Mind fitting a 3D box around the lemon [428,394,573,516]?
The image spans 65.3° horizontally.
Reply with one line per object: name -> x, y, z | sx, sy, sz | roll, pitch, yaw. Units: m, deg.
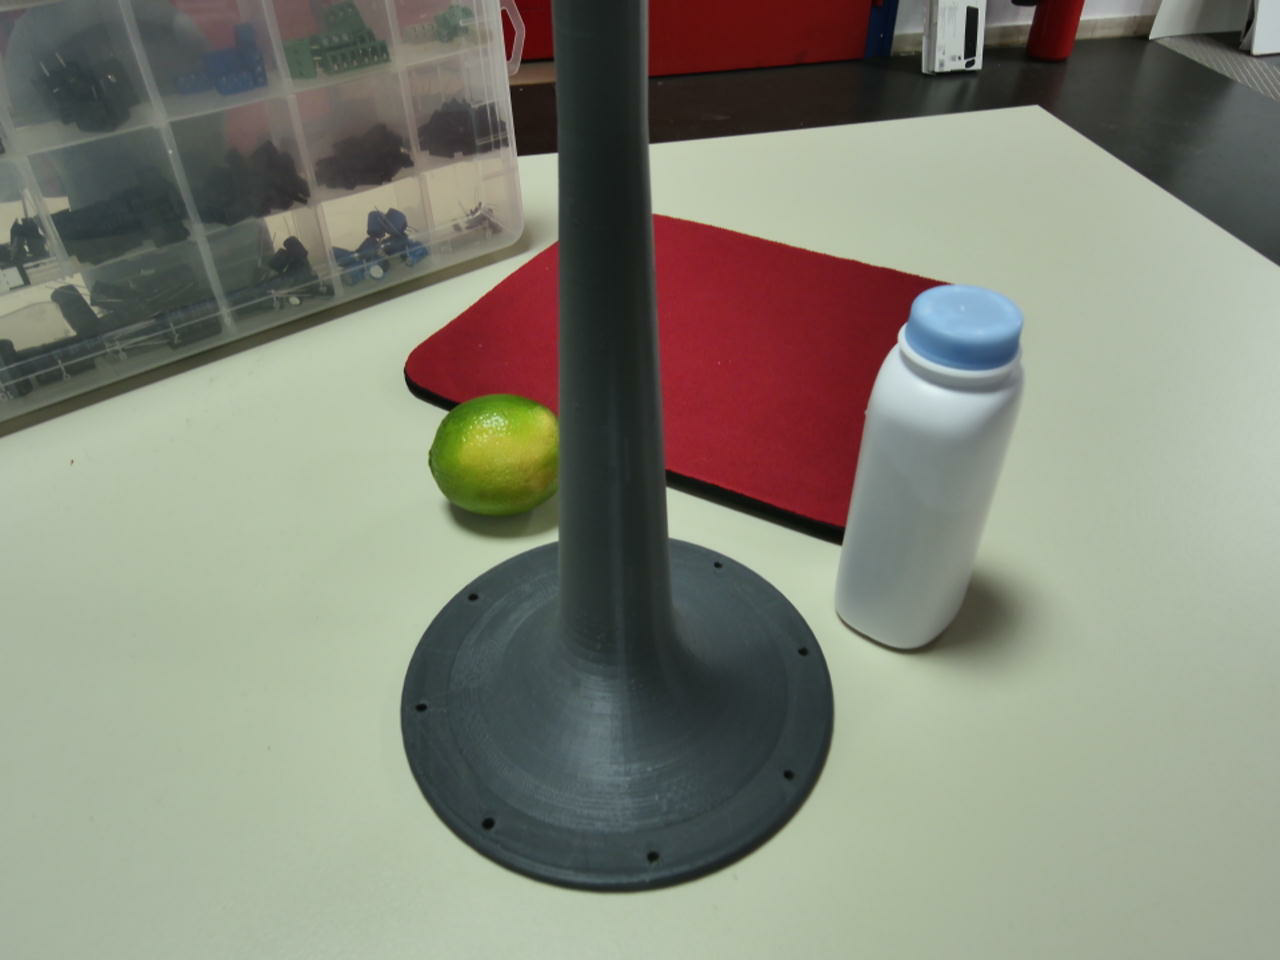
lemon -> -0.059, -0.010, 0.421 | 0.055, 0.050, 0.054 | 26, 44, 28
